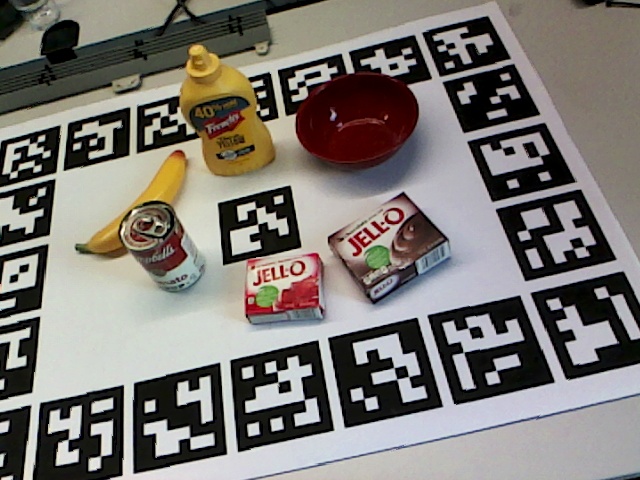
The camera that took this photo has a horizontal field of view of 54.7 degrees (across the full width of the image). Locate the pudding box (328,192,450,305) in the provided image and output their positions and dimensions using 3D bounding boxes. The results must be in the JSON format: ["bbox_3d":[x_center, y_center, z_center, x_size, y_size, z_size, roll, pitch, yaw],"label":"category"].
[{"bbox_3d":[0.080,0.009,0.727,0.113,0.038,0.090,-33,61,-10],"label":"pudding box"}]

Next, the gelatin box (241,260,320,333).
[{"bbox_3d":[-0.047,0.066,0.724,0.089,0.030,0.073,-8,58,8],"label":"gelatin box"}]

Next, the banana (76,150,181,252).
[{"bbox_3d":[-0.247,-0.051,0.845,0.075,0.038,0.197,19,62,35],"label":"banana"}]

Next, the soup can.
[{"bbox_3d":[-0.196,0.007,0.744,0.068,0.101,0.068,-6,54,7],"label":"soup can"}]

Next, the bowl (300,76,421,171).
[{"bbox_3d":[0.057,-0.147,0.832,0.162,0.055,0.162,-7,55,10],"label":"bowl"}]

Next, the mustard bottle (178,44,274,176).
[{"bbox_3d":[-0.126,-0.166,0.788,0.096,0.190,0.058,-13,52,3],"label":"mustard bottle"}]
